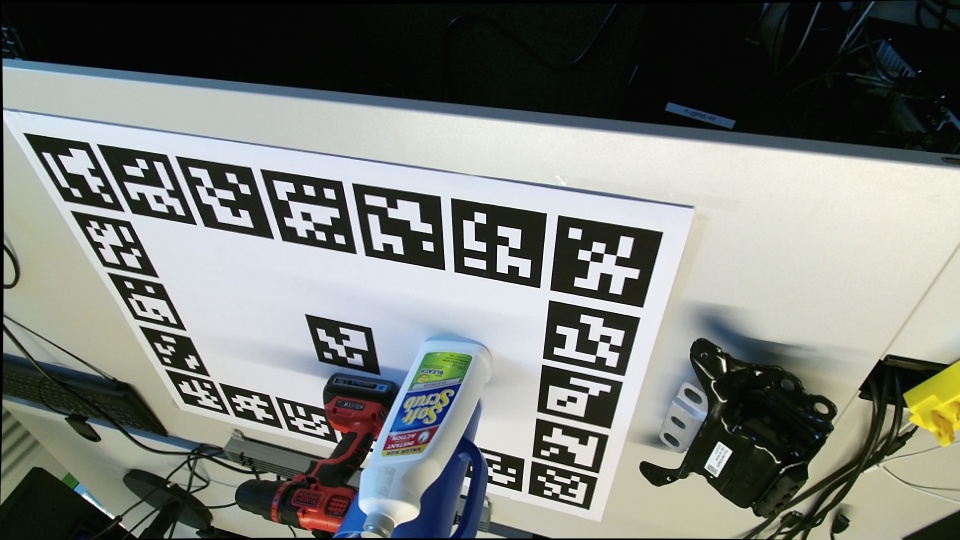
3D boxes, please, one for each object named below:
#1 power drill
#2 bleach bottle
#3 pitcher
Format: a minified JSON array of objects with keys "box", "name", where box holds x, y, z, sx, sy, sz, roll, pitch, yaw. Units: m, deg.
[{"box":[-0.237,0.263,0.743,0.185,0.186,0.057,8,125,21],"name":"power drill"},{"box":[-0.073,0.212,0.608,0.103,0.250,0.068,2,126,17],"name":"bleach bottle"},{"box":[-0.077,0.279,0.688,0.189,0.242,0.133,-15,118,28],"name":"pitcher"}]
